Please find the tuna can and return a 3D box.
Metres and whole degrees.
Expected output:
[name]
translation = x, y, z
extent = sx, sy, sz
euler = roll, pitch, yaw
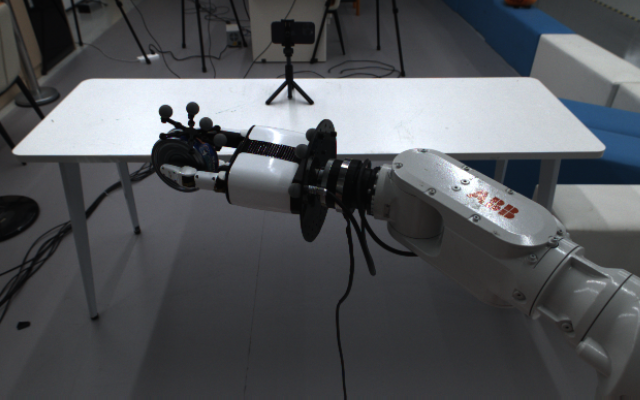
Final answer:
[tuna can]
translation = -0.183, -0.053, 0.658
extent = 0.085, 0.085, 0.034
euler = 11, 35, 13
